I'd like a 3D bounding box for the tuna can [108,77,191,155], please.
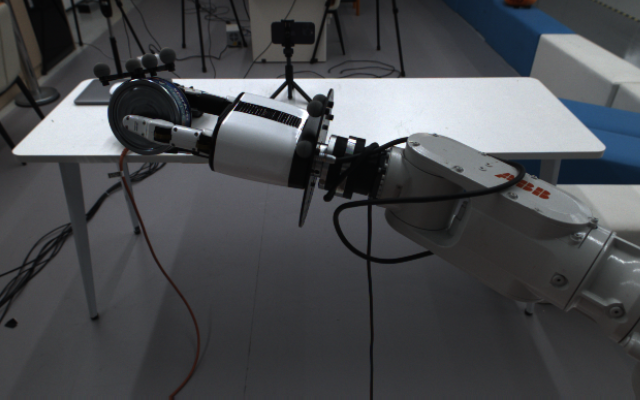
[{"bbox_3d":[-0.187,-0.088,0.541,0.085,0.085,0.034,6,18,5],"label":"tuna can"}]
